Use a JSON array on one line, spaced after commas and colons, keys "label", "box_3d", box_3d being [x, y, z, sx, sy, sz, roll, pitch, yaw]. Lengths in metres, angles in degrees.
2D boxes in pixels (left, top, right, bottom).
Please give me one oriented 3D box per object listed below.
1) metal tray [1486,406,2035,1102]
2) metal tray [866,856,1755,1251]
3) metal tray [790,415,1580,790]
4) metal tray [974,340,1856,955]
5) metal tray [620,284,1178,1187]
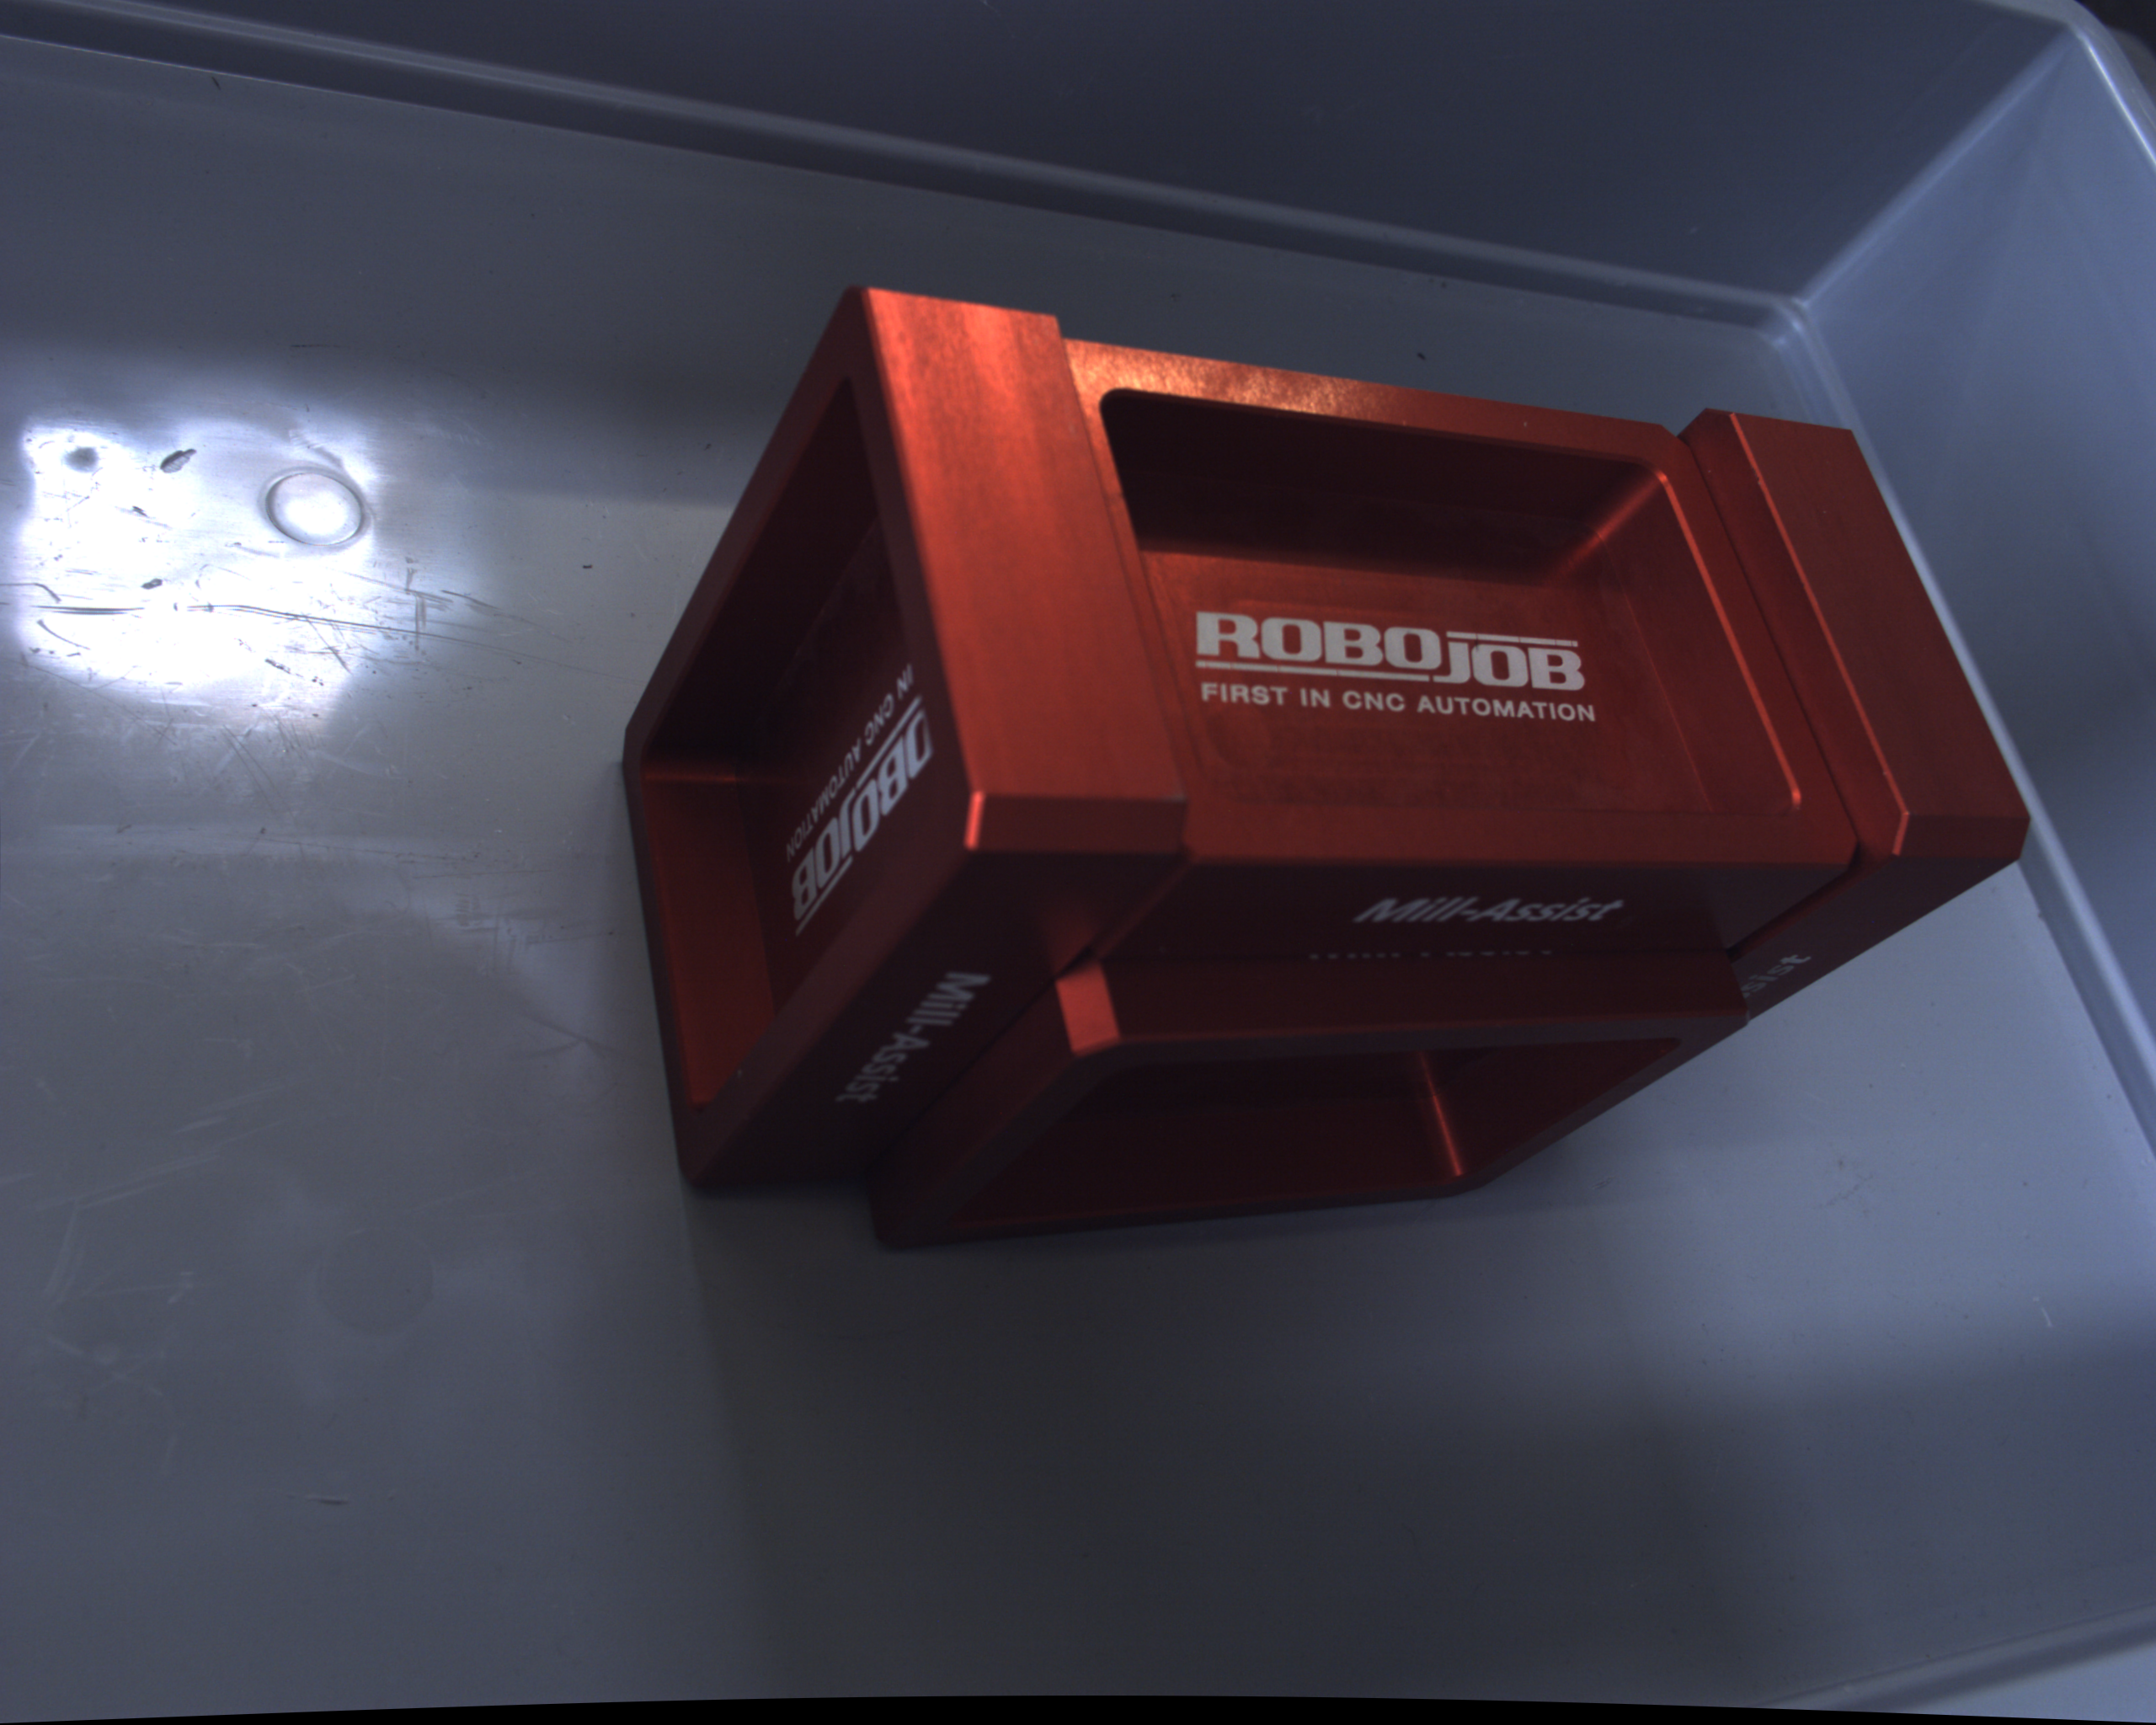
[{"label": "metal tray", "box_3d": [0.108, -0.013, 0.401, 0.030, 0.129, 0.090, 1, 62, -28]}, {"label": "metal tray", "box_3d": [0.037, 0.033, 0.360, 0.131, 0.090, 0.030, 0, 61, -28]}, {"label": "metal tray", "box_3d": [0.018, -0.046, 0.398, 0.131, 0.090, 0.030, 0, 63, -28]}, {"label": "metal tray", "box_3d": [0.053, -0.032, 0.332, 0.131, 0.030, 0.090, 1, 61, -28]}, {"label": "metal tray", "box_3d": [-0.036, -0.013, 0.325, 0.030, 0.129, 0.090, 1, 62, -28]}]
